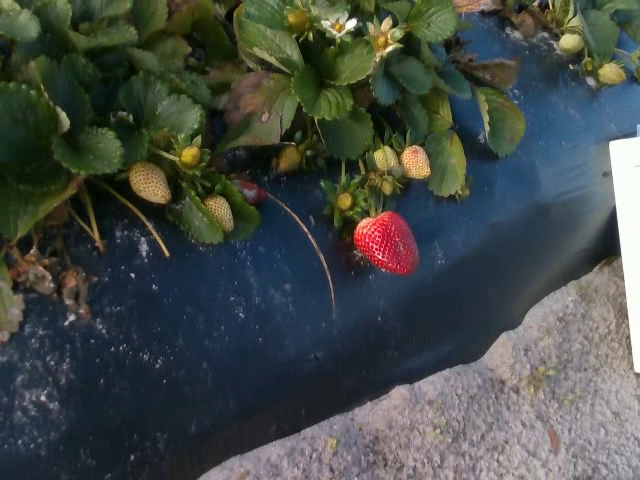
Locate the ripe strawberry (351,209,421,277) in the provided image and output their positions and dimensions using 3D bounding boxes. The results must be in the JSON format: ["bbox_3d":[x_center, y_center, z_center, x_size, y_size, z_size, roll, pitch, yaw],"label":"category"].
[{"bbox_3d":[0.063,0.003,0.517,0.052,0.068,0.045,-17,-34,-29],"label":"ripe strawberry"}]
